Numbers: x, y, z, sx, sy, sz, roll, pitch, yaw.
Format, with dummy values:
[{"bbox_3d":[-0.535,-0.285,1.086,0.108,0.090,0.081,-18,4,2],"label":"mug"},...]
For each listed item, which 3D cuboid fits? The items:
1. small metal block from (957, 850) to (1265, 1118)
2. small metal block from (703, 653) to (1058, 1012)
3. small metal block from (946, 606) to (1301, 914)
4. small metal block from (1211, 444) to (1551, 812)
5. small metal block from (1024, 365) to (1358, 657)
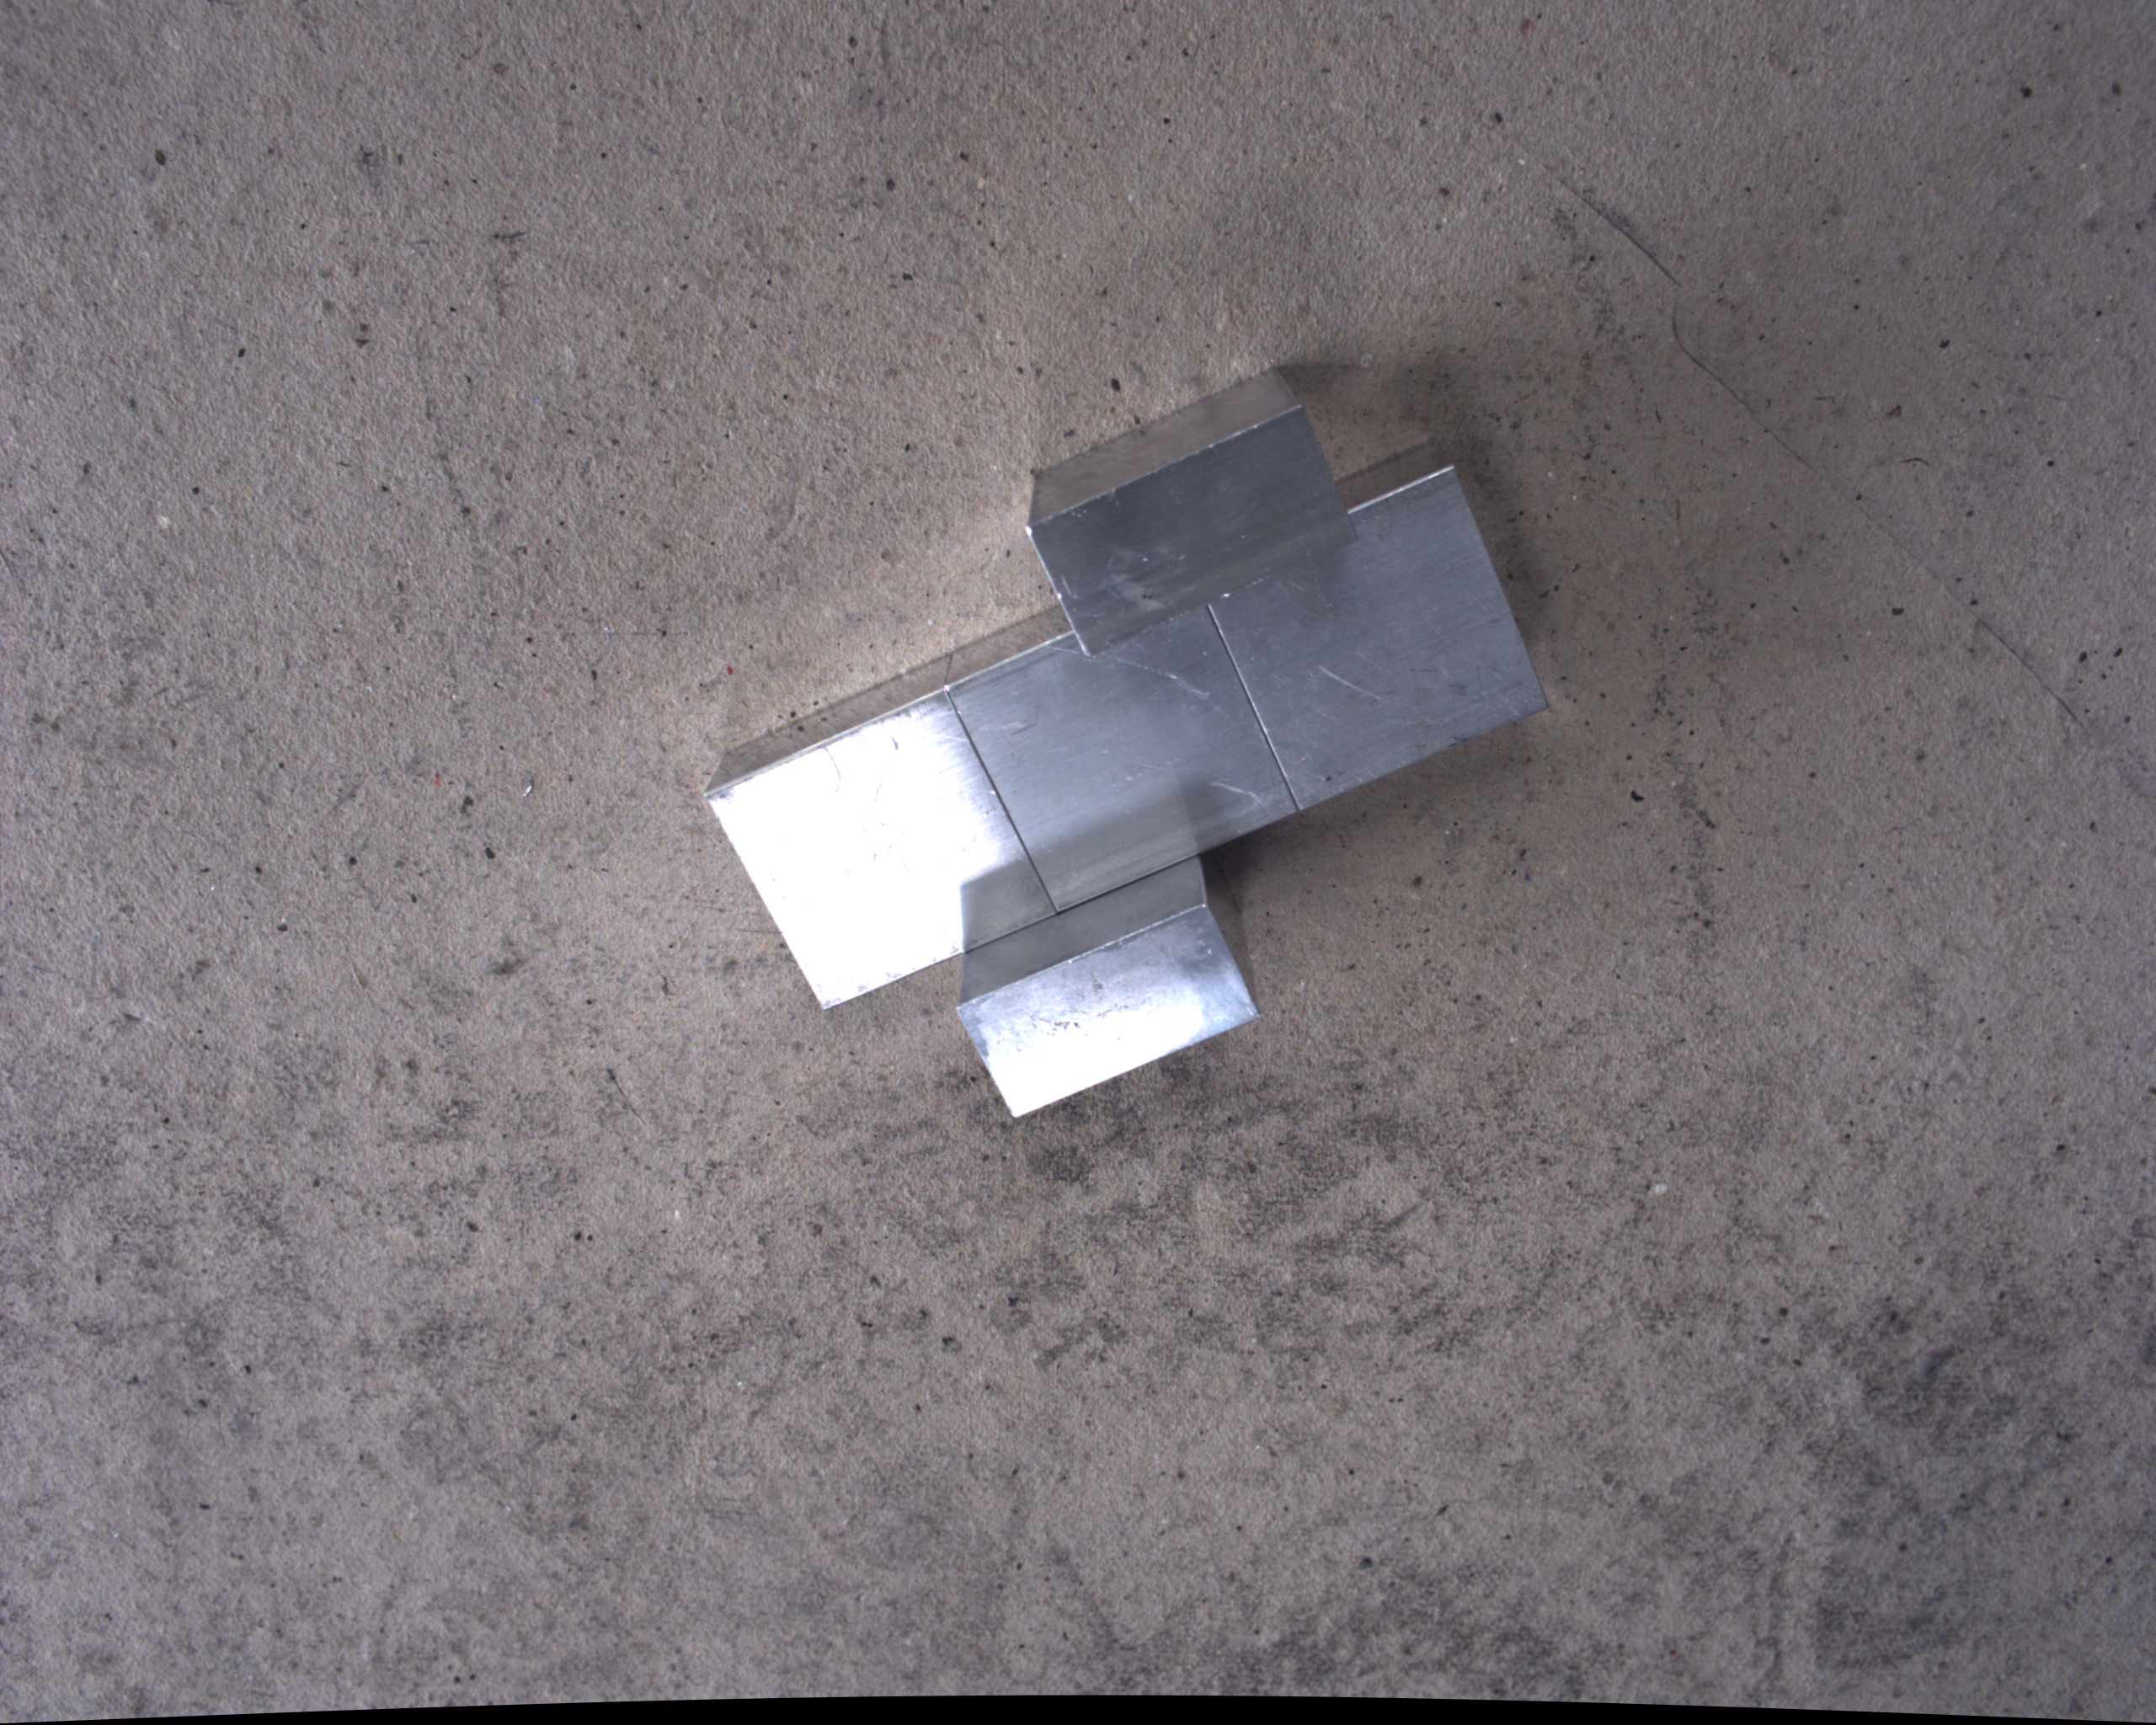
[{"bbox_3d":[0.006,0.019,0.405,0.050,0.050,0.025,-23,108,8],"label":"small metal block"},{"bbox_3d":[-0.037,-0.006,0.408,0.050,0.025,0.050,-23,109,8],"label":"small metal block"},{"bbox_3d":[0.009,-0.025,0.401,0.050,0.025,0.050,-23,109,8],"label":"small metal block"},{"bbox_3d":[0.055,-0.045,0.395,0.050,0.025,0.050,-23,109,8],"label":"small metal block"},{"bbox_3d":[0.019,-0.064,0.374,0.050,0.050,0.025,-22,109,9],"label":"small metal block"}]
